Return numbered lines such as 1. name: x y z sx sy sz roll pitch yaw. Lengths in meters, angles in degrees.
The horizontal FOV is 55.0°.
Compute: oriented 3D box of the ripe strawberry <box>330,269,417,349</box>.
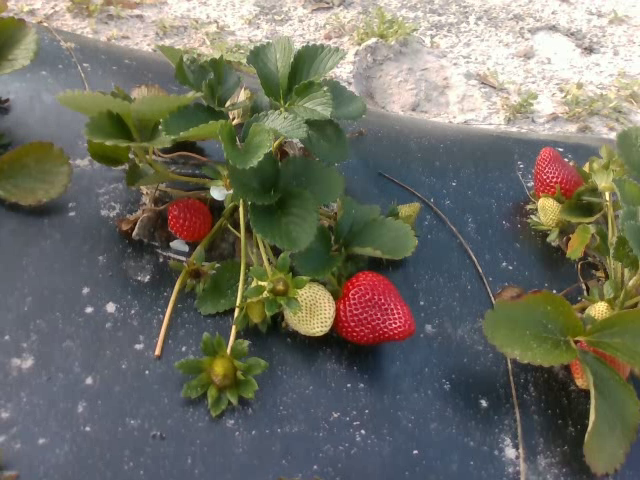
1. ripe strawberry: 0.037 0.049 0.383 0.048 0.051 0.055 35 -2 -41
